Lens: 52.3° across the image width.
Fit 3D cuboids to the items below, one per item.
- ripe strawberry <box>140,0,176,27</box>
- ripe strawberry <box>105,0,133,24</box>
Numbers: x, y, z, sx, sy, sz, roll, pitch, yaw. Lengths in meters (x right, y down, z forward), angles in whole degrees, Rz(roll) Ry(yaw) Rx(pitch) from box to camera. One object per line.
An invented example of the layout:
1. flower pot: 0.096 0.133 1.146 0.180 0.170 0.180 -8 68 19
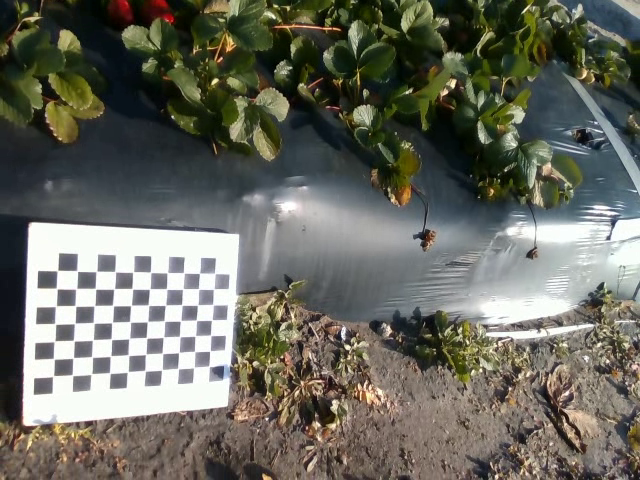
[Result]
1. ripe strawberry: -0.235 -0.337 0.944 0.052 0.058 0.046 -35 -29 -18
2. ripe strawberry: -0.280 -0.329 0.912 0.051 0.043 0.037 41 -15 24
